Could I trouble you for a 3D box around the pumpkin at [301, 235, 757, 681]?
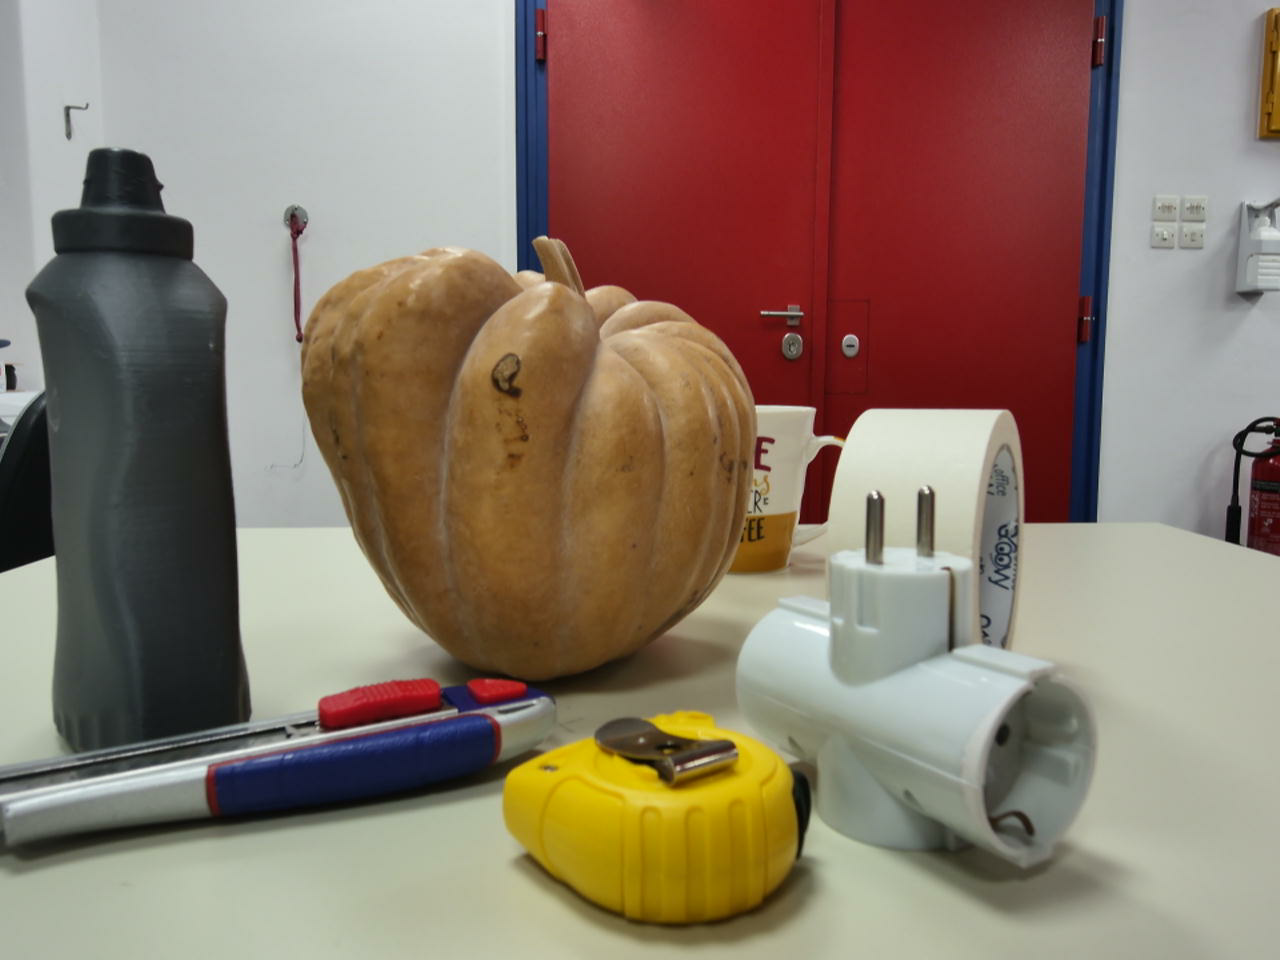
[{"bbox_3d":[-0.044,-0.011,0.420,0.199,0.177,0.198,0,4,0],"label":"pumpkin"}]
